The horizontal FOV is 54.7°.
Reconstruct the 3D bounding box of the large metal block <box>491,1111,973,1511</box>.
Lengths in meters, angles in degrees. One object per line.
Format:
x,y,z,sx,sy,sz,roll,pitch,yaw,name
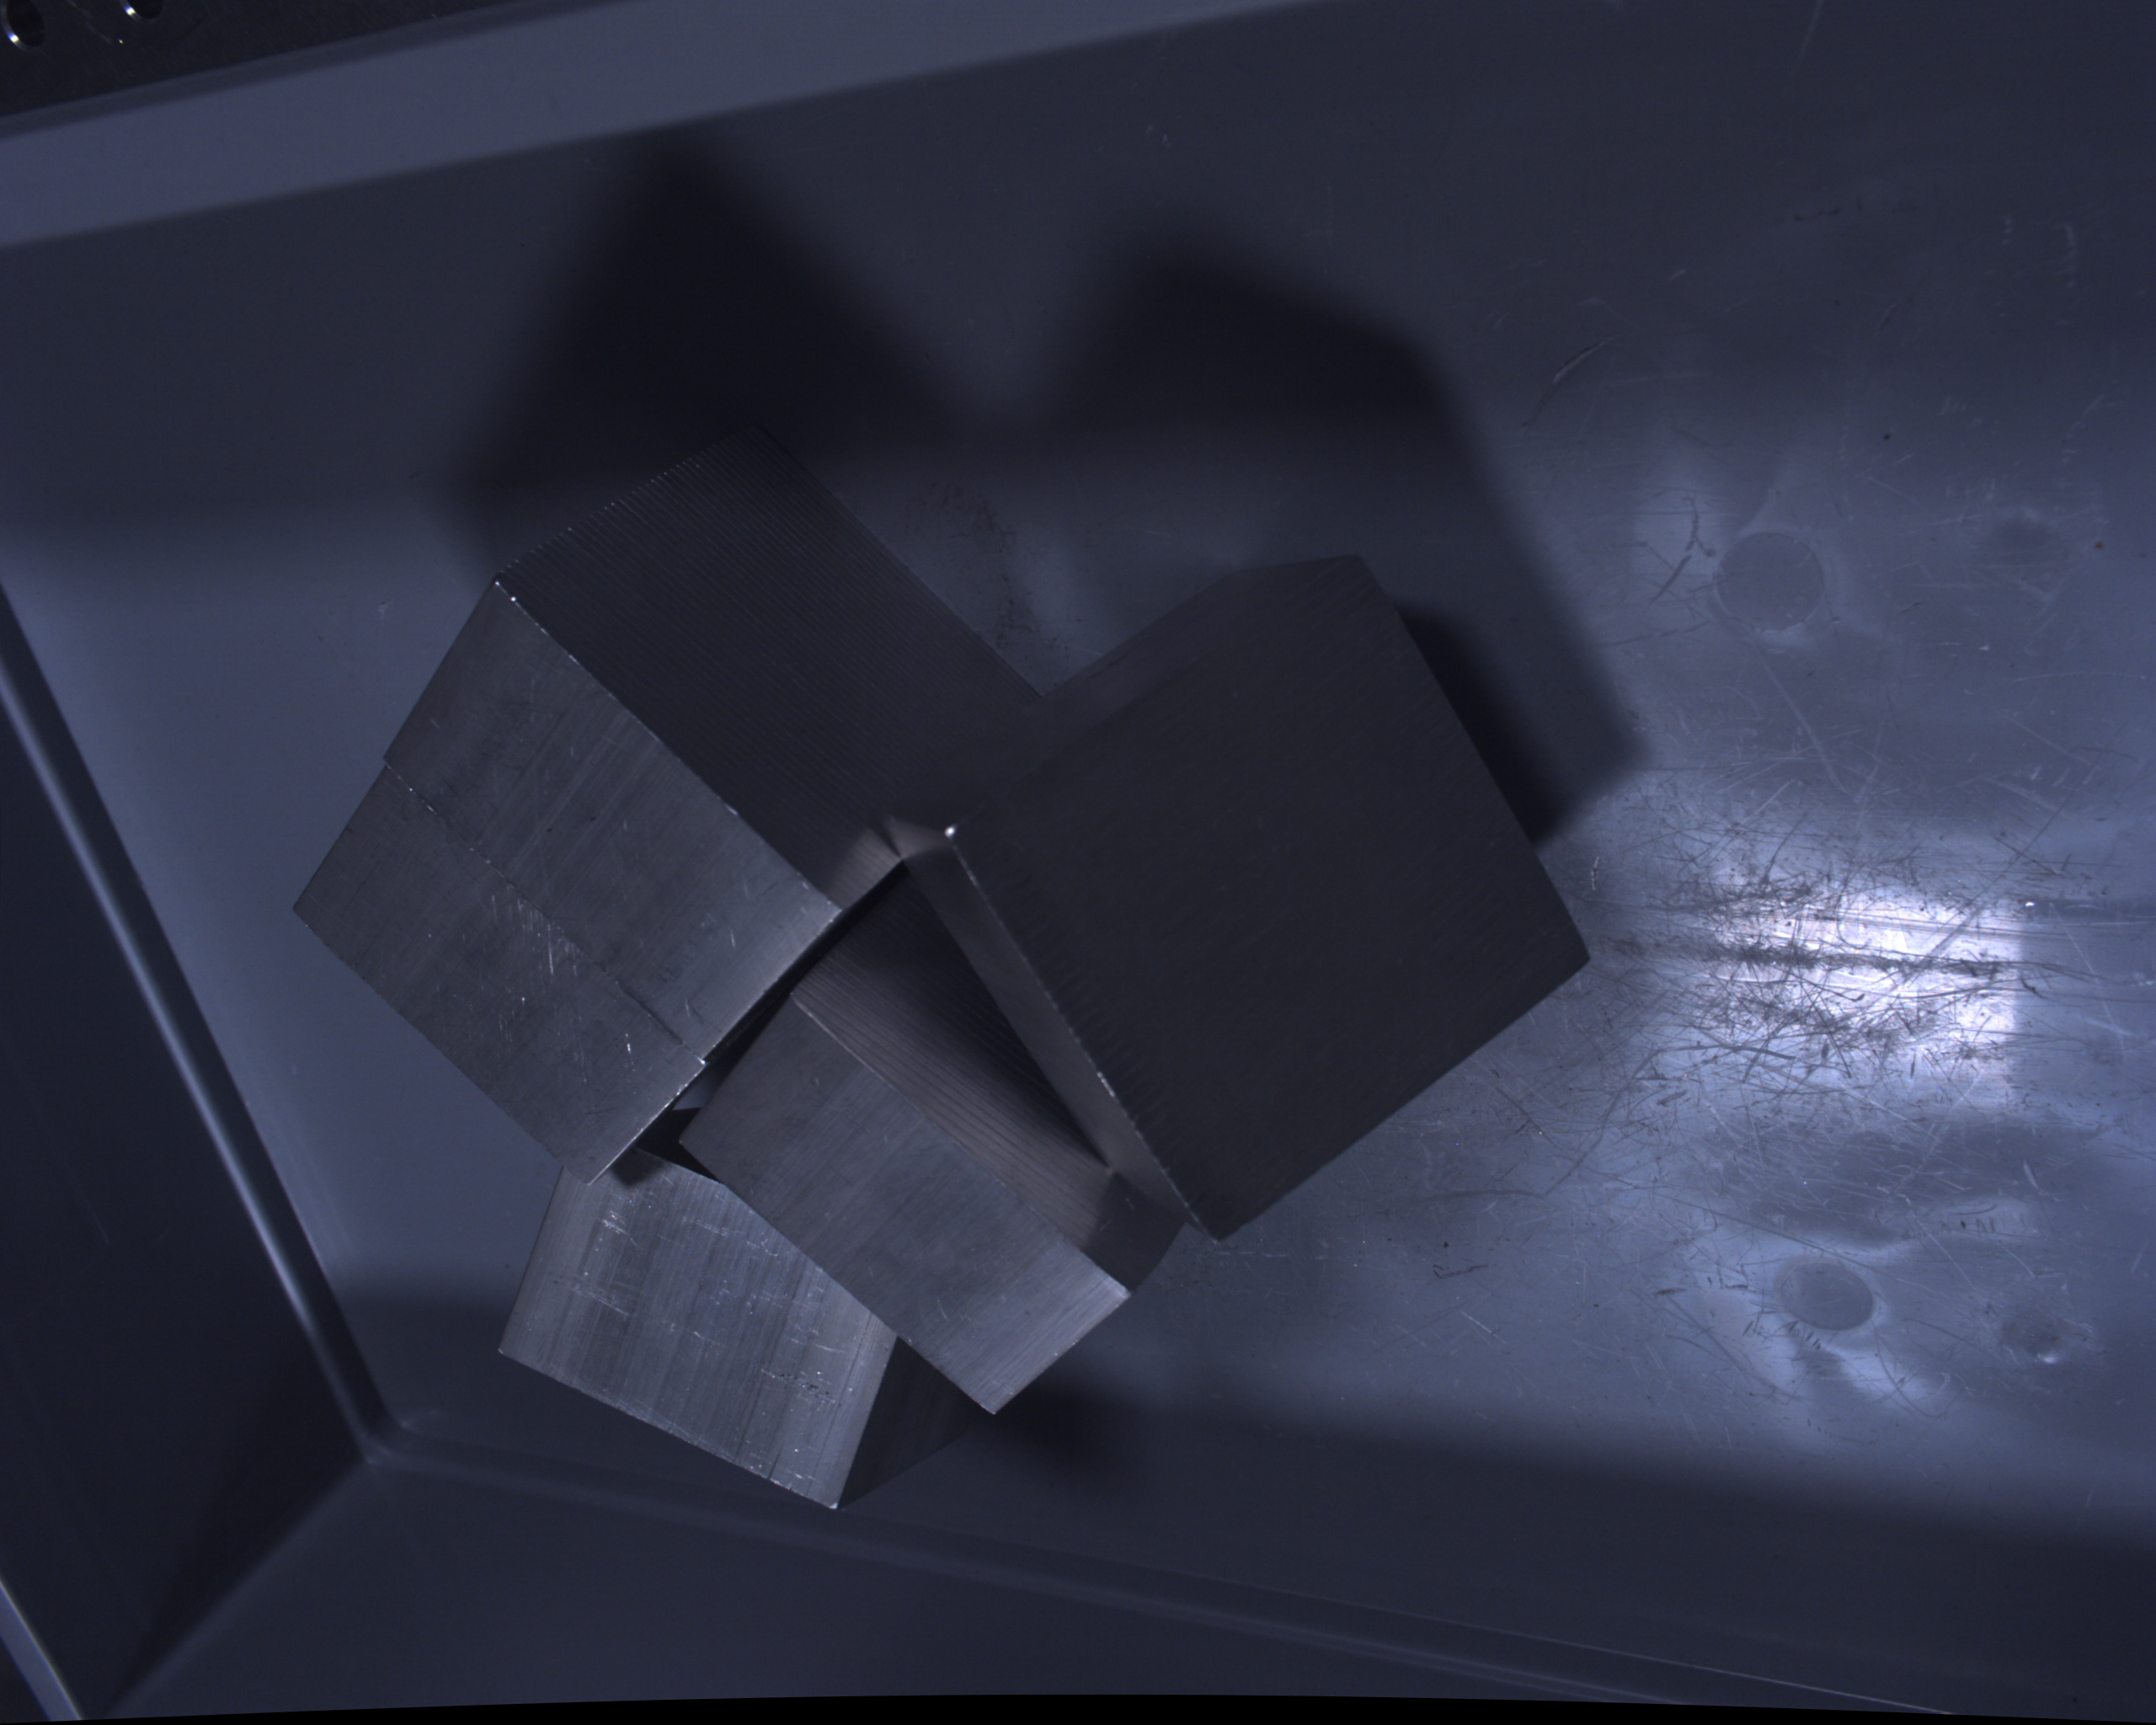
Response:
-0.064,0.091,0.451,0.080,0.080,0.050,20,92,16,large metal block

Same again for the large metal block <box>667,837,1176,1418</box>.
-0.017,0.044,0.405,0.080,0.080,0.050,41,129,0,large metal block

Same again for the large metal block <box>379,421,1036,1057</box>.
-0.065,-0.025,0.388,0.080,0.080,0.050,43,129,-2,large metal block

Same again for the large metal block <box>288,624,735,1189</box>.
-0.093,0.004,0.422,0.080,0.080,0.050,44,129,-3,large metal block

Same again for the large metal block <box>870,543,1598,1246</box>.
0.025,0.003,0.351,0.080,0.080,0.050,58,167,-13,large metal block
